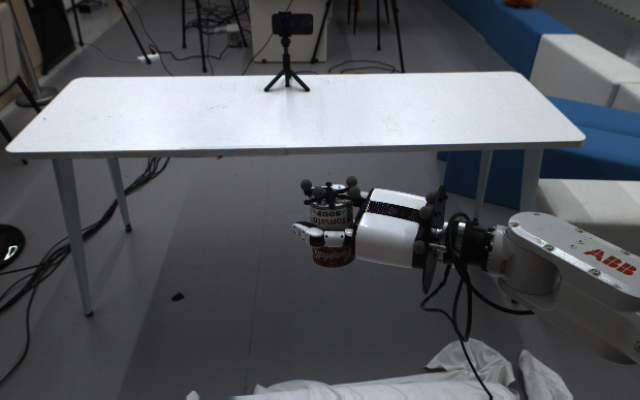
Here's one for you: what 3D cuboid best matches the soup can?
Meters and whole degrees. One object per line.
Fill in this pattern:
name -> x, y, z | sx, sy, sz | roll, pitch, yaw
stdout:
soup can -> 0.020, 0.042, 0.737 | 0.067, 0.101, 0.067 | -3, 25, 2
